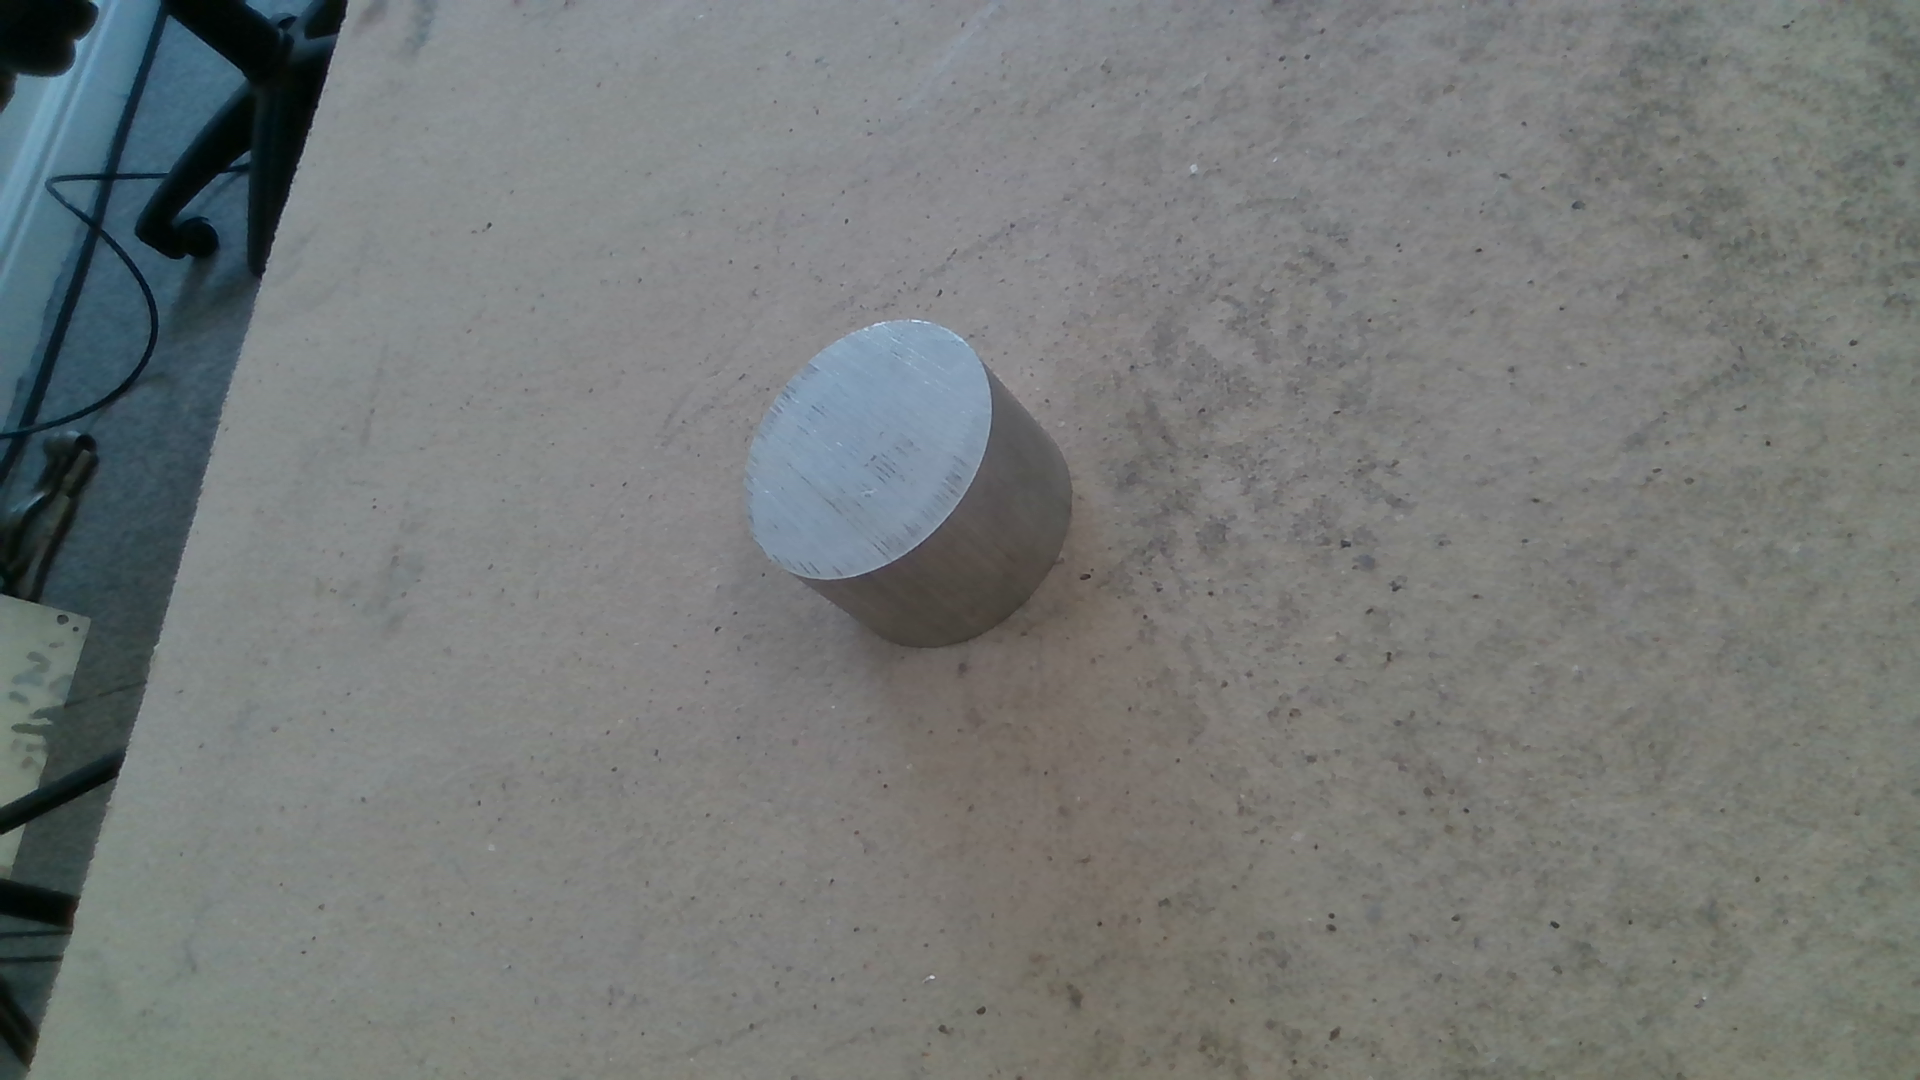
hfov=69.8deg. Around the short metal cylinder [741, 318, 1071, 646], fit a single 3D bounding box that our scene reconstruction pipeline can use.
[{"bbox_3d":[-0.015,-0.016,0.395,0.080,0.050,0.080,-14,60,25],"label":"short metal cylinder"}]
